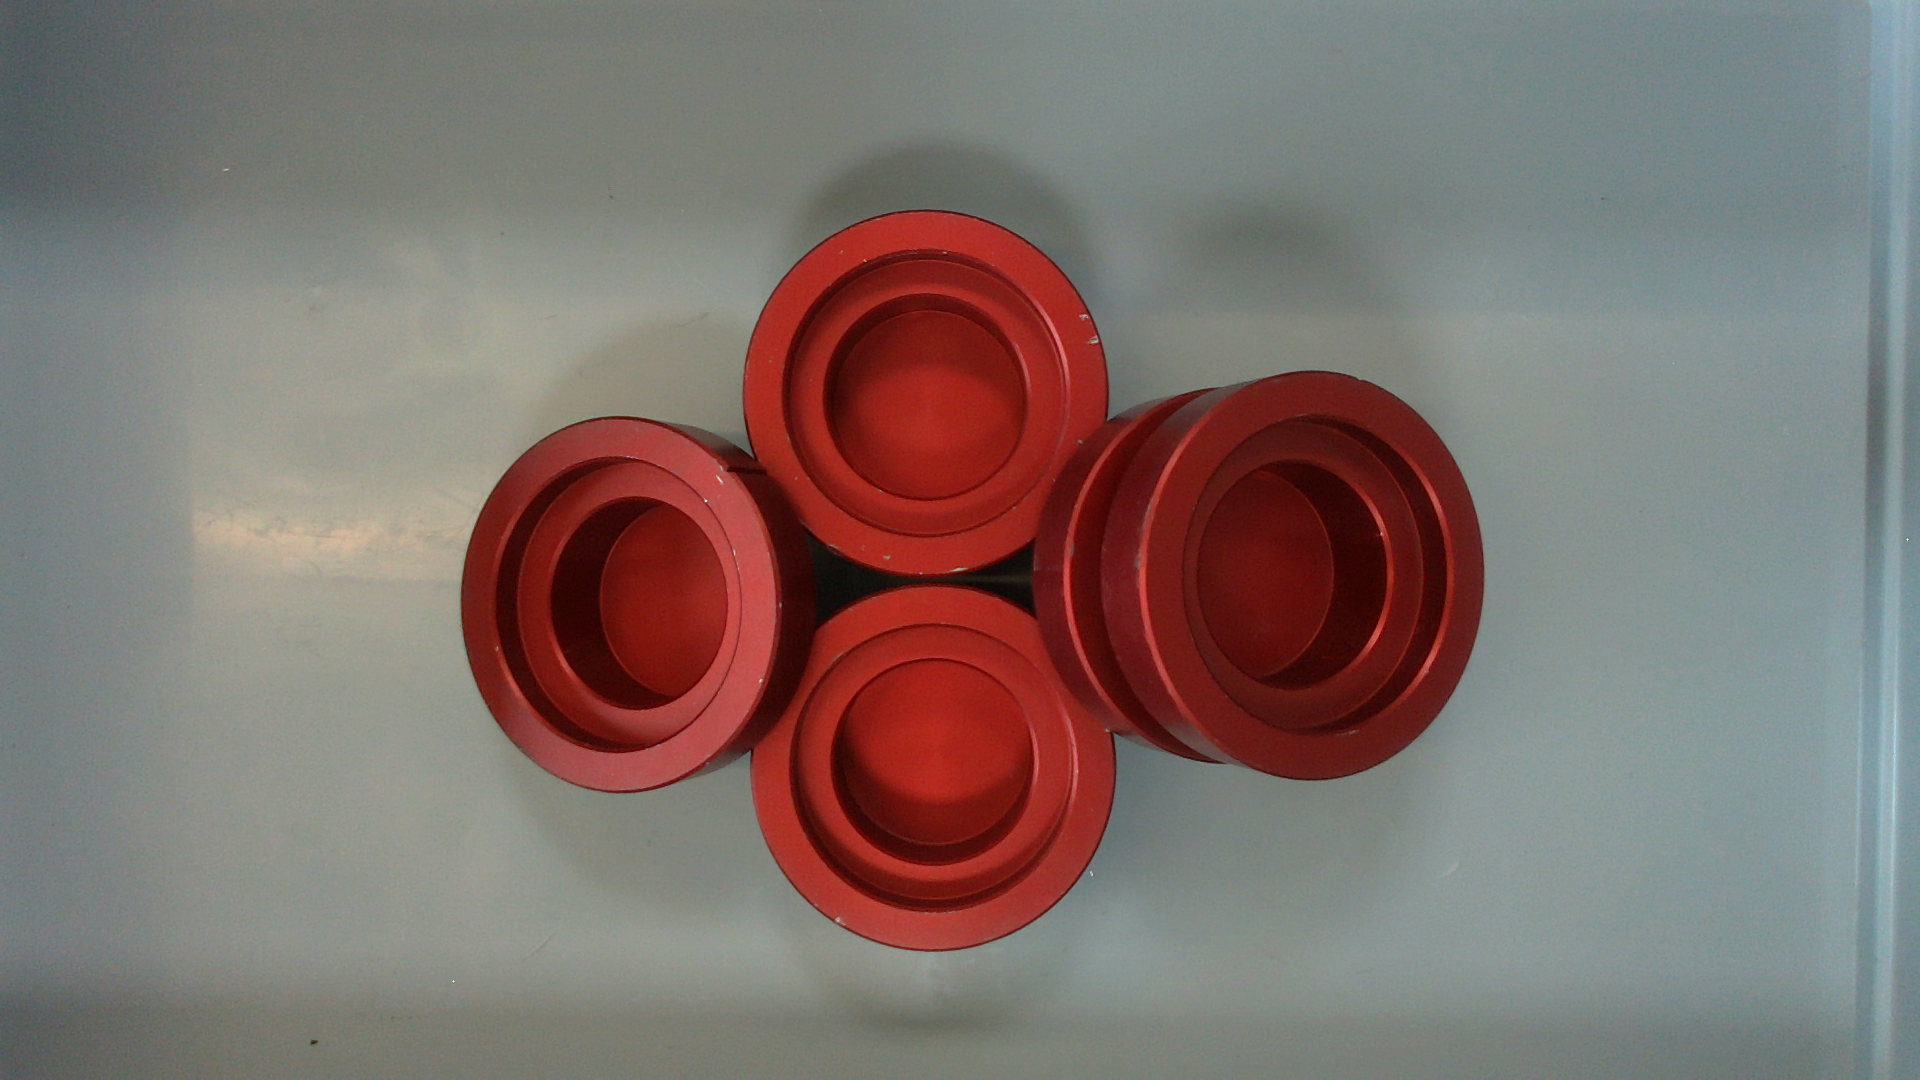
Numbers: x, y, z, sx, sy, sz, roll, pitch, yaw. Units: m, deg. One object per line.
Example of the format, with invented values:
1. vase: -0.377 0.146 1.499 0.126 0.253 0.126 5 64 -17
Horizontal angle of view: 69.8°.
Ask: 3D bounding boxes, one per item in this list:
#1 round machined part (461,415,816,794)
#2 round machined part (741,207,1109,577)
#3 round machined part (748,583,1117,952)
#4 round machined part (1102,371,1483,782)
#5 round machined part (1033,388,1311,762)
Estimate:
1. round machined part: -0.083 0.017 0.375 0.098 0.042 0.098 0 90 21
2. round machined part: -0.009 -0.039 0.385 0.098 0.042 0.098 0 90 0
3. round machined part: -0.007 0.061 0.385 0.098 0.042 0.098 0 90 0
4. round machined part: 0.079 0.009 0.347 0.098 0.042 0.098 0 90 -22
5. round machined part: 0.064 0.009 0.375 0.098 0.042 0.098 0 89 -22
